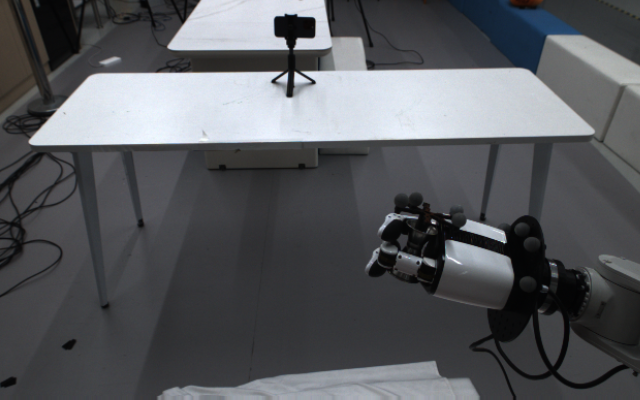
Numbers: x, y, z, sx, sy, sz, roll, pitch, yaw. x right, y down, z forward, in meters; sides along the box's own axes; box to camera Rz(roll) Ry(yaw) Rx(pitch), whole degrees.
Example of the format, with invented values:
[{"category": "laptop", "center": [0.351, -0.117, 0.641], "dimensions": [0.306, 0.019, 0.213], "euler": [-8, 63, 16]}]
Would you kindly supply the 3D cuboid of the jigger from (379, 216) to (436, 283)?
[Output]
[{"category": "jigger", "center": [0.118, 0.063, 0.606], "dimensions": [0.043, 0.071, 0.043], "euler": [15, 17, -5]}]
